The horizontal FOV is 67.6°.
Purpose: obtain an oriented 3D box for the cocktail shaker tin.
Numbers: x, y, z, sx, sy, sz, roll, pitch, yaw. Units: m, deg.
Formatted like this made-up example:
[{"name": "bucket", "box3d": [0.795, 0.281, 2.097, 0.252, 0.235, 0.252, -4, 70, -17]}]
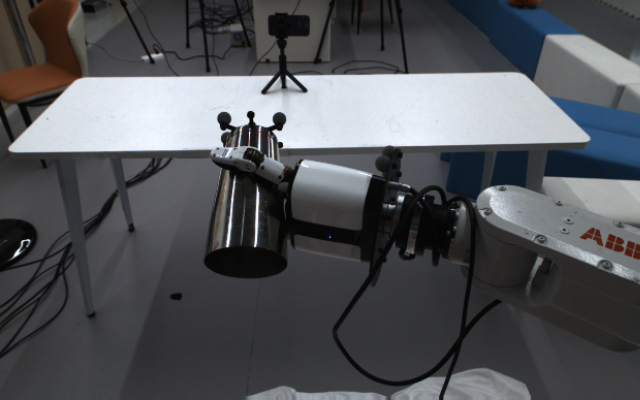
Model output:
[{"name": "cocktail shaker tin", "box3d": [-0.084, -0.003, 0.572, 0.093, 0.093, 0.170, 0, 59, -3]}]
